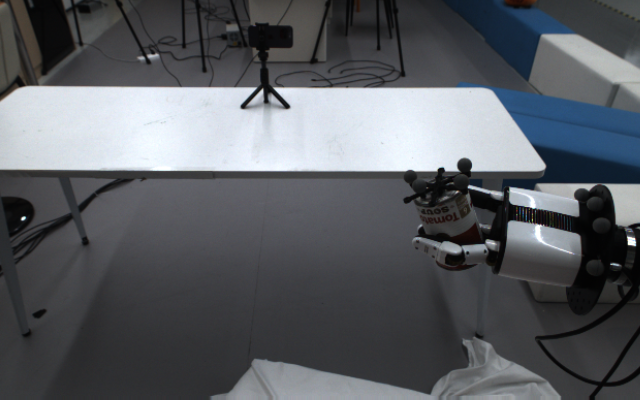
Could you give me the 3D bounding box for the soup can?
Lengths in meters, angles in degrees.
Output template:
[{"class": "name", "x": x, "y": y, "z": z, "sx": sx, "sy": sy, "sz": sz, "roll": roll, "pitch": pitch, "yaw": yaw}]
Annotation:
[{"class": "soup can", "x": 0.167, "y": 0.028, "z": 0.613, "sx": 0.067, "sy": 0.101, "sz": 0.067, "roll": -22, "pitch": 24, "yaw": 10}]
